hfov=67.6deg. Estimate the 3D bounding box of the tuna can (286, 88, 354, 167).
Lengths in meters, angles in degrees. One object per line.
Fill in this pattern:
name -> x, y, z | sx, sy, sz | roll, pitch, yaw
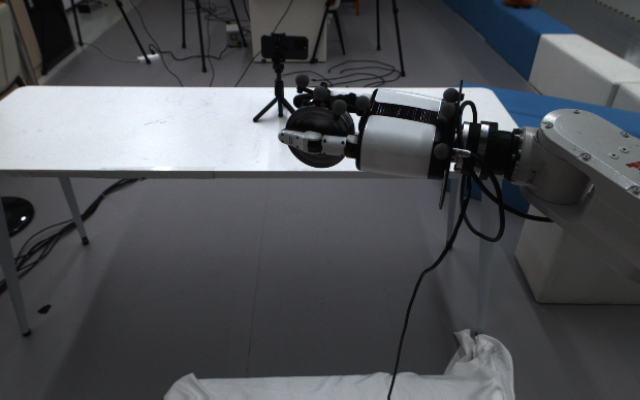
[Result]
tuna can -> 0.002, -0.088, 0.623 | 0.085, 0.085, 0.034 | 12, 33, 14
